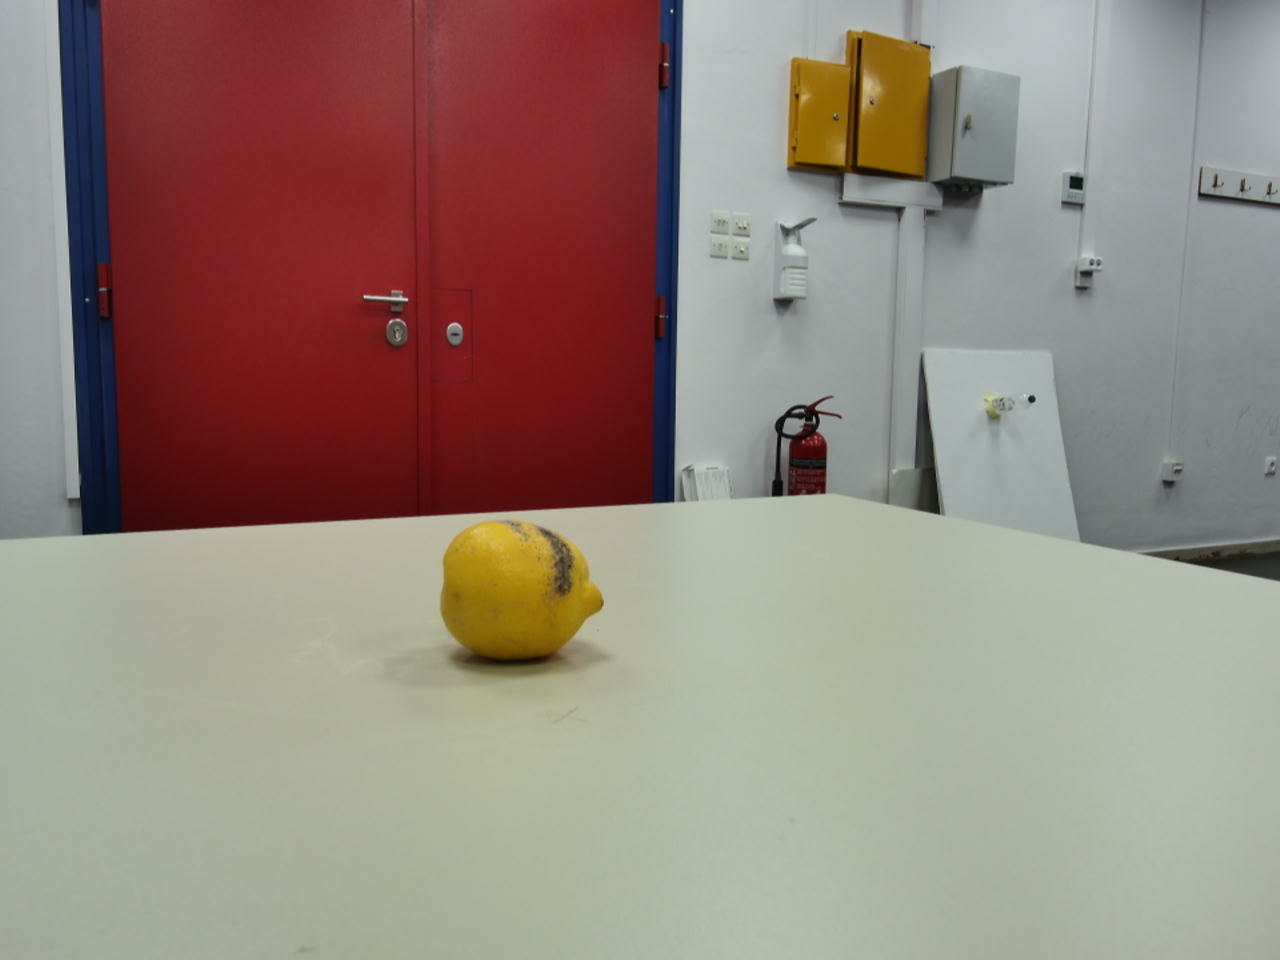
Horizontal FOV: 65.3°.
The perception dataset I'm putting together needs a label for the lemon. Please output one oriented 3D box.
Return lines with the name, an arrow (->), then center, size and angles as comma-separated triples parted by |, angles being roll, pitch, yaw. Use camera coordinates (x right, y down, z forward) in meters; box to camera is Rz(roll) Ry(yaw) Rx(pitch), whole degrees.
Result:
lemon -> -0.052, 0.045, 0.408 | 0.061, 0.056, 0.058 | -3, 5, -34
